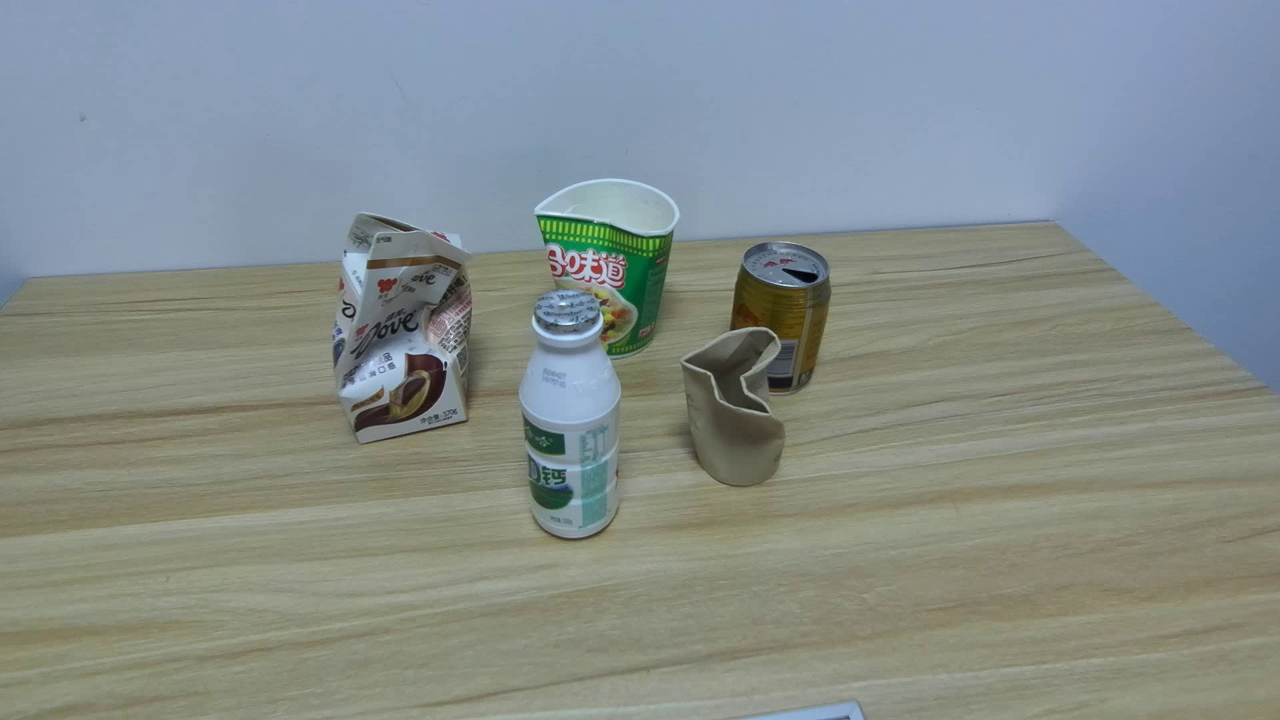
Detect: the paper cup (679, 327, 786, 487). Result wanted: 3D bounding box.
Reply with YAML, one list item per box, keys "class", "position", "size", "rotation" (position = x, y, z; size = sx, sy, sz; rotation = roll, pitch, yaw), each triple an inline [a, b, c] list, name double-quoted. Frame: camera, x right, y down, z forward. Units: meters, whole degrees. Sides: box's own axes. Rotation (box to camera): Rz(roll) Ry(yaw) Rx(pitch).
- class: "paper cup"
  position: [0.065, 0.033, 0.432]
  size: [0.067, 0.083, 0.058]
  rotation: [-27, 49, -28]

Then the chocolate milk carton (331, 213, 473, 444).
- class: "chocolate milk carton"
  position: [-0.150, -0.027, 0.452]
  size: [0.089, 0.155, 0.076]
  rotation: [-3, 40, -26]

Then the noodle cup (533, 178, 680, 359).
- class: "noodle cup"
  position: [-0.017, -0.065, 0.530]
  size: [0.093, 0.109, 0.087]
  rotation: [30, 46, 31]

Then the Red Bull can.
- class: "Red Bull can"
  position: [0.097, -0.030, 0.505]
  size: [0.068, 0.093, 0.068]
  rotation: [1, 38, -1]

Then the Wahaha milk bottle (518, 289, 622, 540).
- class: "Wahaha milk bottle"
  position: [-0.037, 0.032, 0.379]
  size: [0.053, 0.147, 0.053]
  rotation: [1, 38, 0]
